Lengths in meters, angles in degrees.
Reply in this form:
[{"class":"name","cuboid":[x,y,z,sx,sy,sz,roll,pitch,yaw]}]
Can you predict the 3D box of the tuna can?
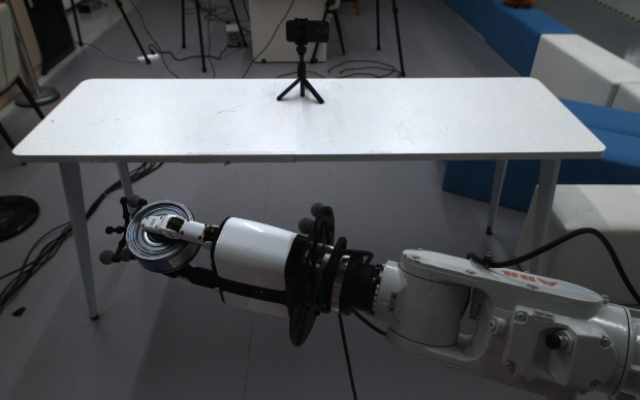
[{"class":"tuna can","cuboid":[-0.187,0.043,0.589,0.085,0.034,0.085,-2,58,3]}]
